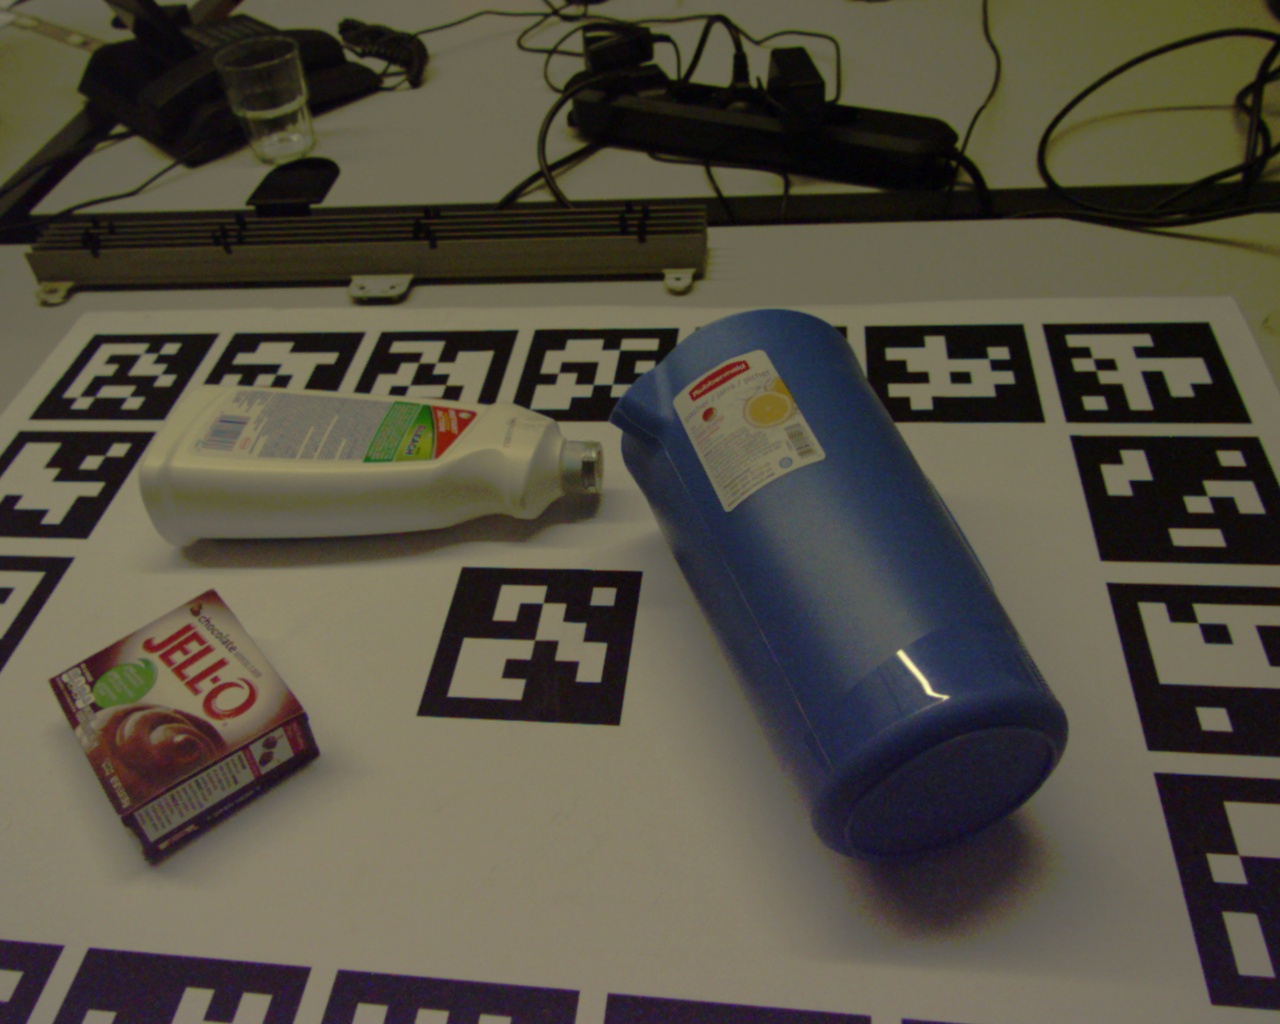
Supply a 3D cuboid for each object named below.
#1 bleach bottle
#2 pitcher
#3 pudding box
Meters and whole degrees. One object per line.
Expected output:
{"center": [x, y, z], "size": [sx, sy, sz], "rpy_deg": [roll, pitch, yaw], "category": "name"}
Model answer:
{"center": [-0.154, -0.028, 0.691], "size": [0.251, 0.067, 0.103], "rpy_deg": [0, 49, 5], "category": "bleach bottle"}
{"center": [0.092, 0.040, 0.564], "size": [0.186, 0.134, 0.245], "rpy_deg": [10, 40, -34], "category": "pitcher"}
{"center": [-0.231, 0.099, 0.583], "size": [0.089, 0.038, 0.115], "rpy_deg": [-28, 49, -27], "category": "pudding box"}
